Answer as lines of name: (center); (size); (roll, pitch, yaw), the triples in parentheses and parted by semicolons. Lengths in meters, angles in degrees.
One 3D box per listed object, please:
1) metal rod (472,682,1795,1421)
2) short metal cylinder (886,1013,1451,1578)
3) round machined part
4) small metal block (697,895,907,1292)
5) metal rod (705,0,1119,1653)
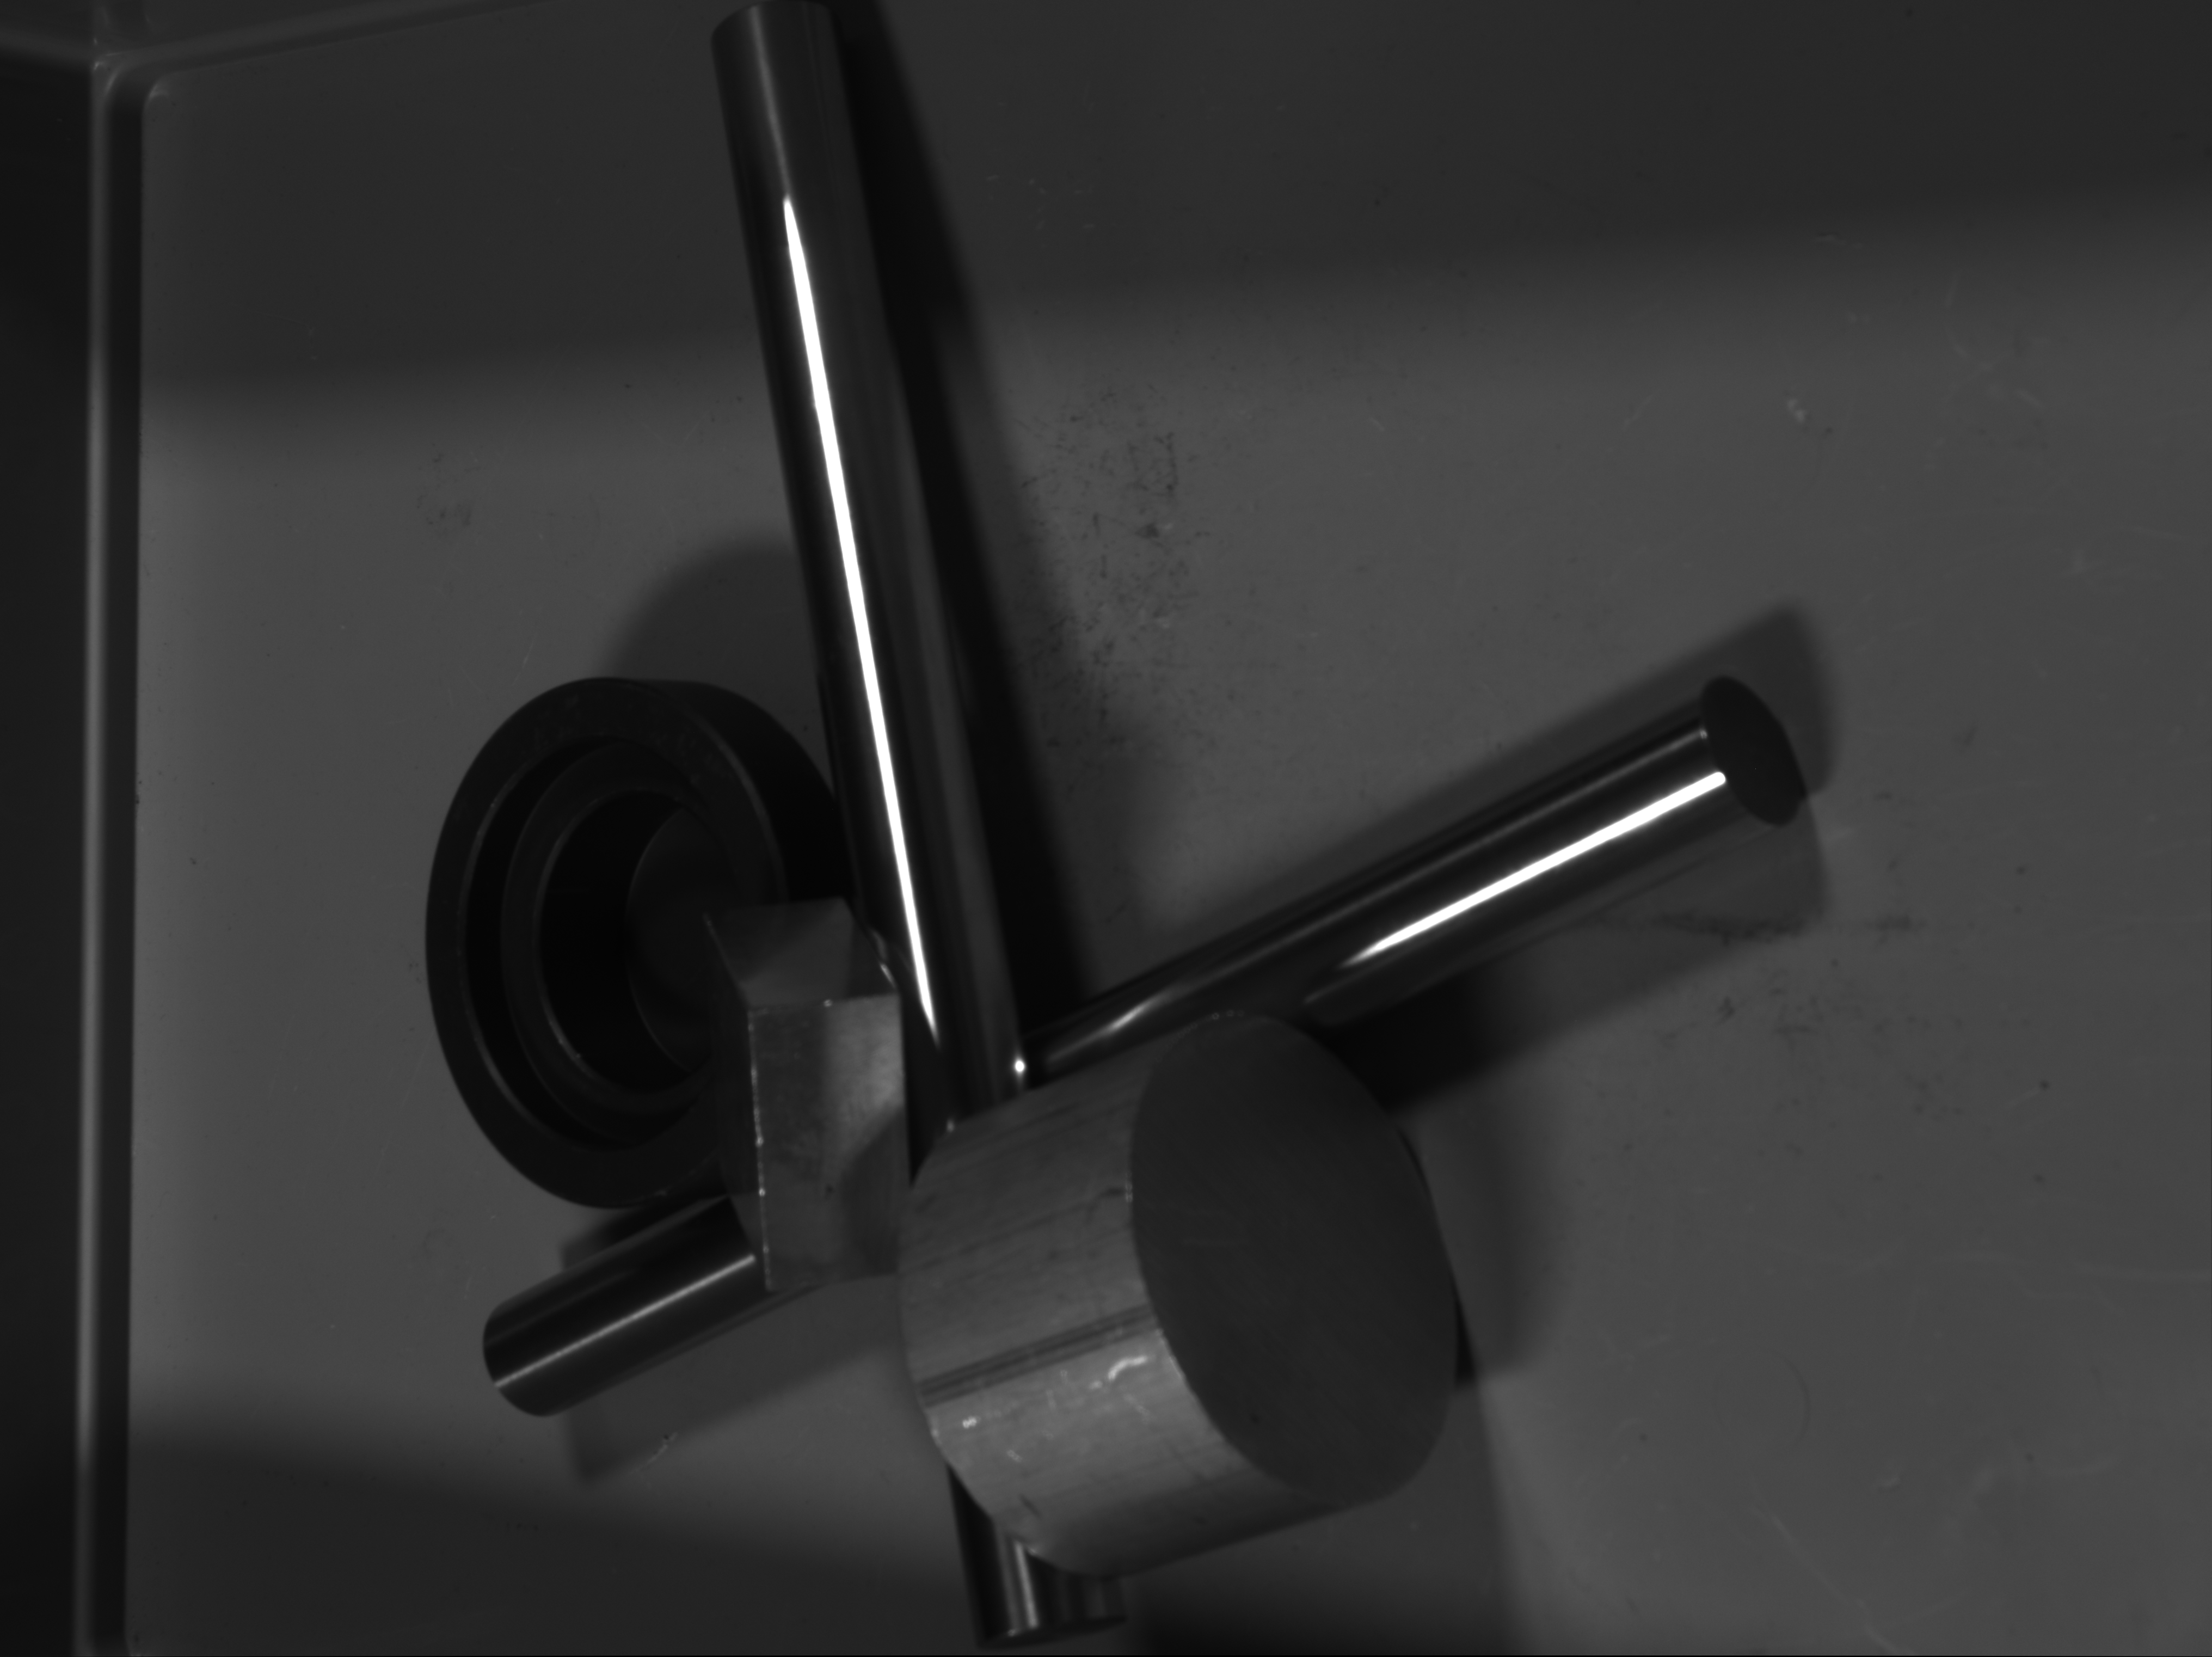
metal rod: (-0.010, 0.048, 0.643); (0.299, 0.025, 0.025); (-29, 72, 36)
short metal cylinder: (0.011, 0.076, 0.590); (0.050, 0.080, 0.080); (-25, 74, 37)
round machined part: (-0.083, 0.021, 0.692); (0.098, 0.042, 0.098); (0, 90, 39)
small metal block: (-0.052, 0.044, 0.624); (0.050, 0.025, 0.050); (-131, 36, -66)
metal rod: (-0.037, -0.008, 0.642); (0.025, 0.025, 0.300); (-24, 68, 37)
